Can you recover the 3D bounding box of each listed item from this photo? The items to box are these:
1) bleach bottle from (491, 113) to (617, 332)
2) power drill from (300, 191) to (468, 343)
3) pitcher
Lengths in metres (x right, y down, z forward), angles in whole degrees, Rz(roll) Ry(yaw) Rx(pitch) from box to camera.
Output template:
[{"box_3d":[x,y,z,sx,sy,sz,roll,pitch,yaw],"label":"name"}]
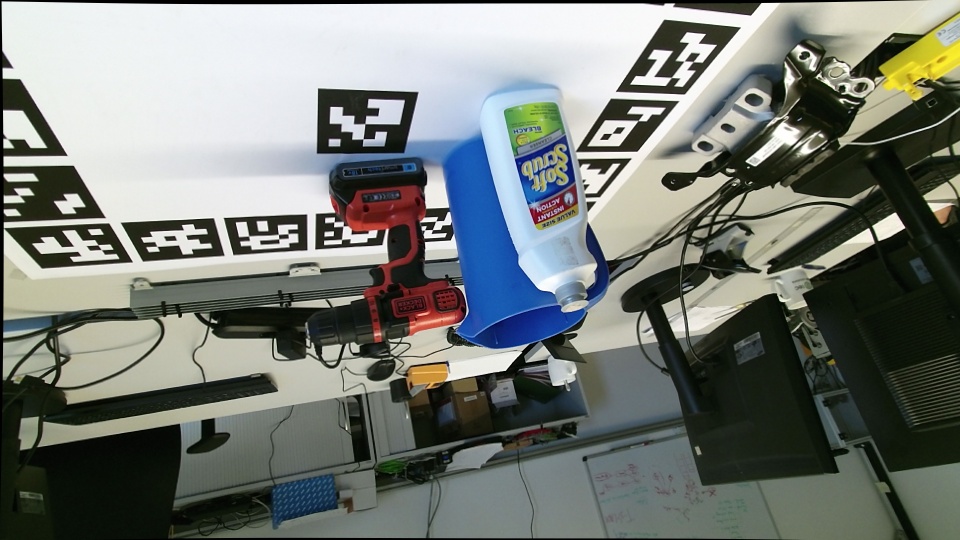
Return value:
[{"box_3d":[0.091,-0.054,0.577,0.103,0.249,0.068,-10,153,-14],"label":"bleach bottle"},{"box_3d":[-0.116,-0.004,0.628,0.185,0.186,0.057,-3,149,-12],"label":"power drill"},{"box_3d":[0.049,-0.020,0.666,0.189,0.241,0.133,-18,153,4],"label":"pitcher"}]
